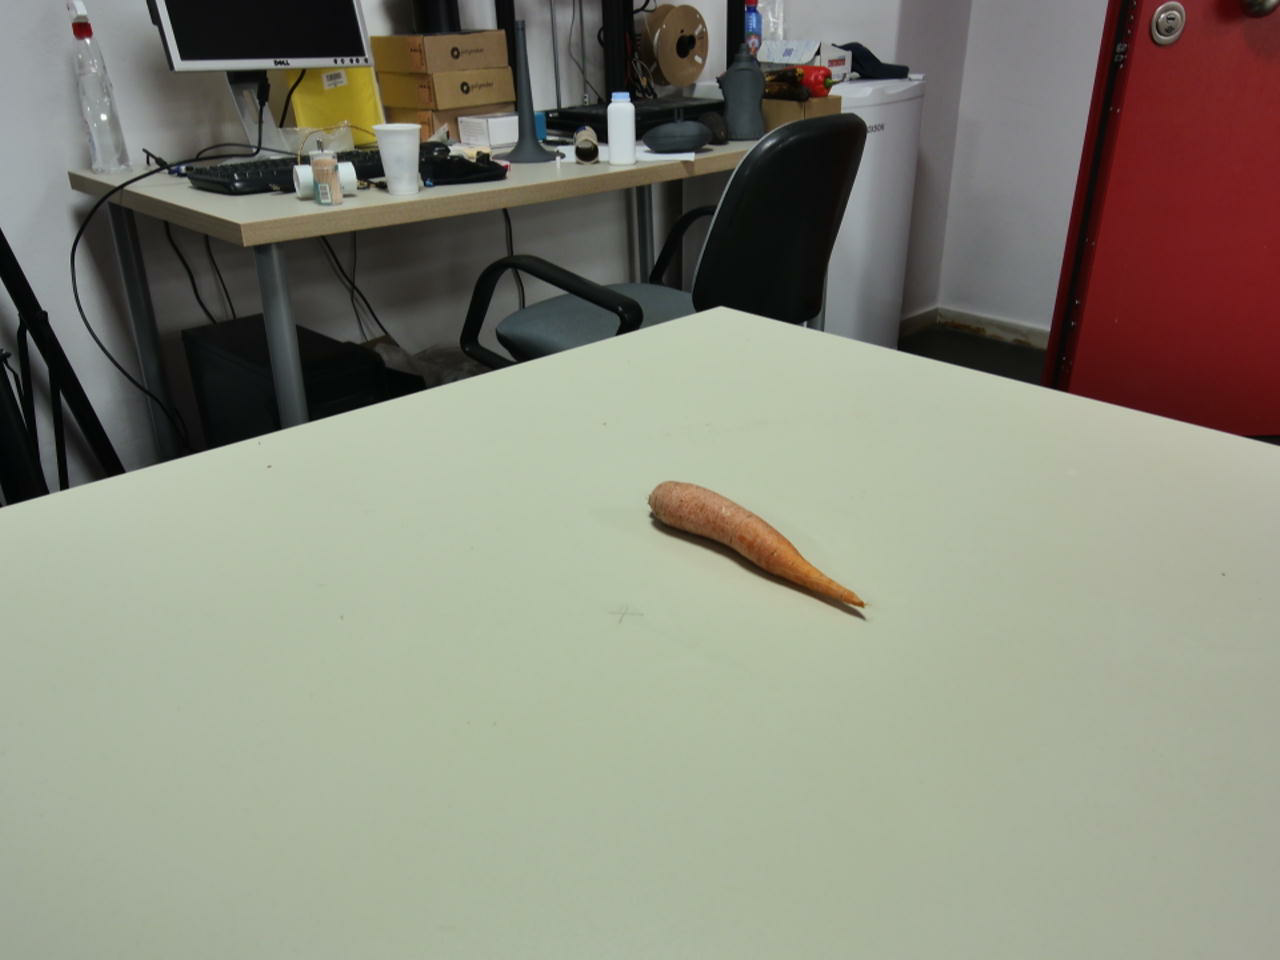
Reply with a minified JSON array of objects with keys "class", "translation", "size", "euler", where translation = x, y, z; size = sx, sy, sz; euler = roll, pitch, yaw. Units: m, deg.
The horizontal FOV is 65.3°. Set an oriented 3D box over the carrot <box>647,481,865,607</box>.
[{"class":"carrot","translation":[0.062,0.031,0.558],"size":[0.031,0.029,0.163],"euler":[-19,31,-38]}]
